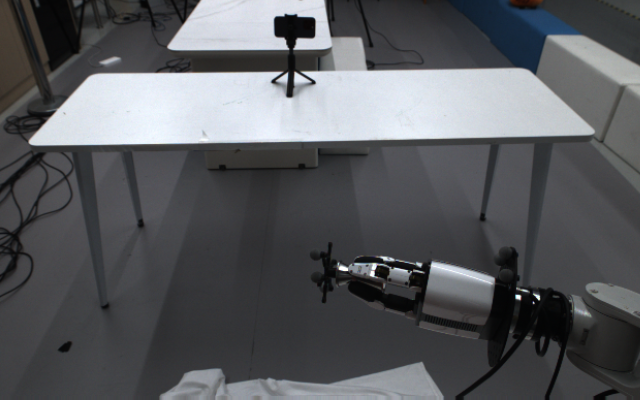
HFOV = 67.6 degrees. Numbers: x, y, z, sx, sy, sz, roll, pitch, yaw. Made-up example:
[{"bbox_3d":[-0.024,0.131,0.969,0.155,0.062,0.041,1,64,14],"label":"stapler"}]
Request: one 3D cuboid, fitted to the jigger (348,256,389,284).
[{"bbox_3d":[0.067,0.104,0.696,0.071,0.043,0.043,3,34,15],"label":"jigger"}]
